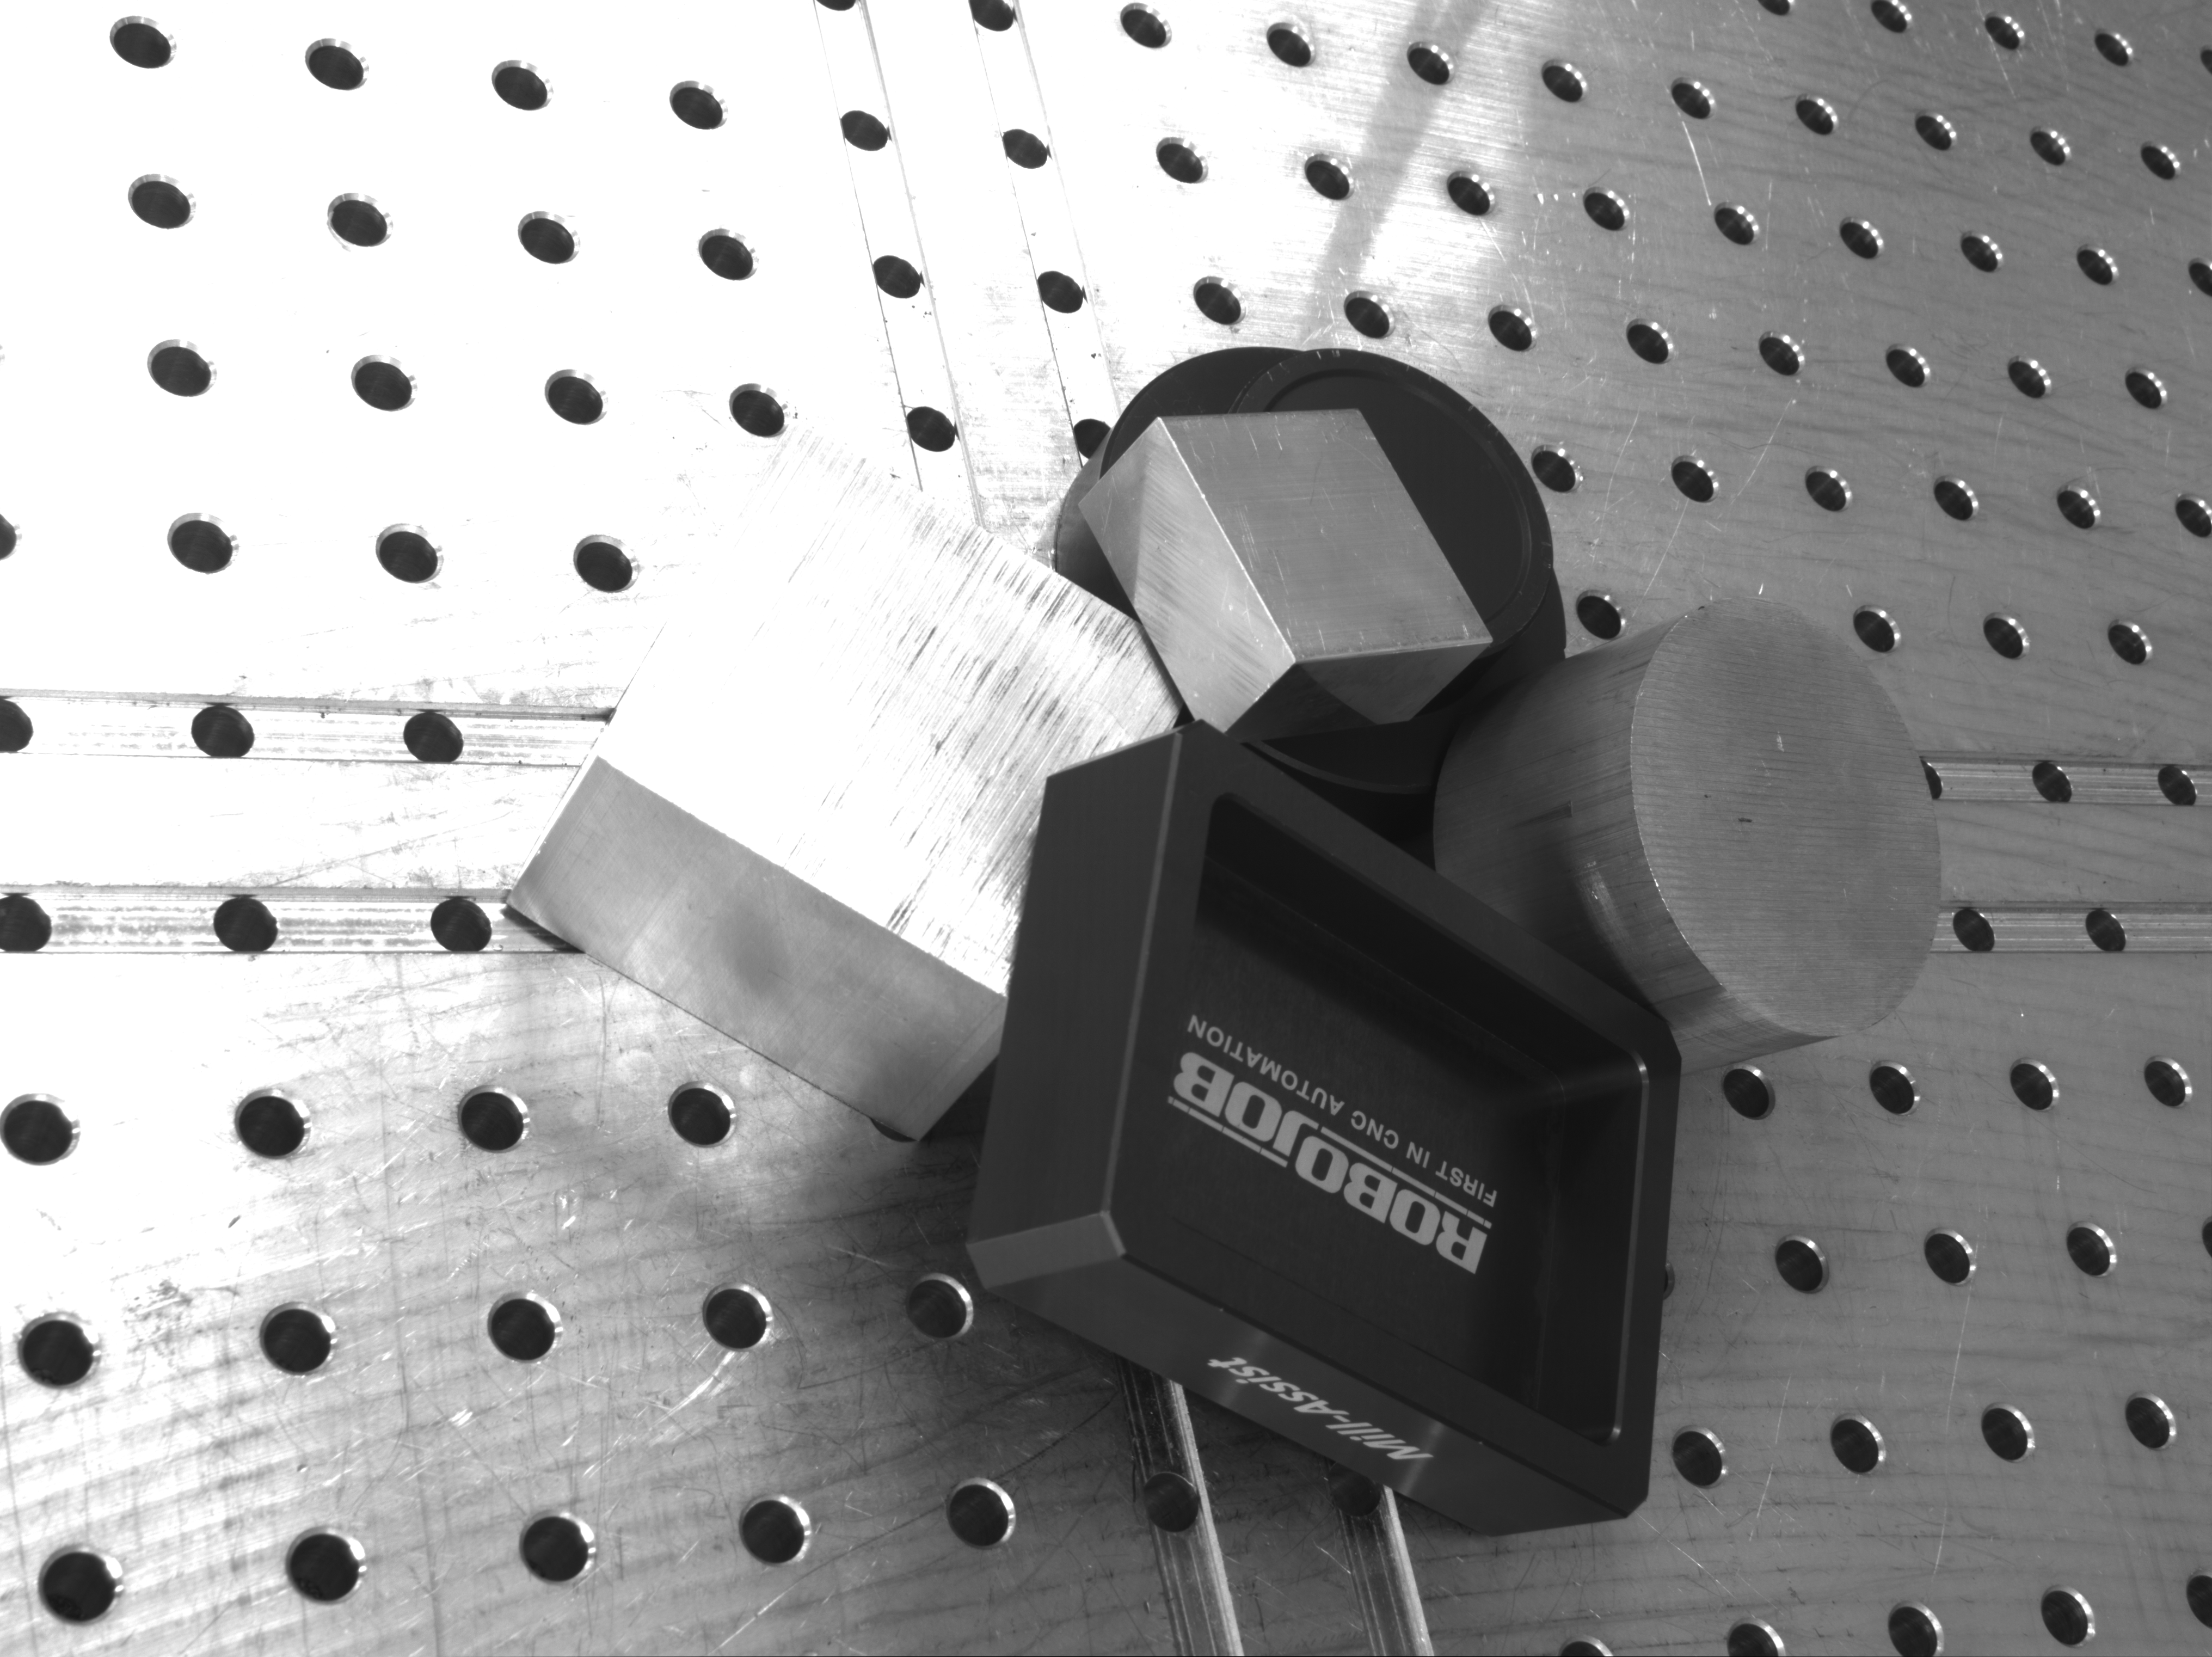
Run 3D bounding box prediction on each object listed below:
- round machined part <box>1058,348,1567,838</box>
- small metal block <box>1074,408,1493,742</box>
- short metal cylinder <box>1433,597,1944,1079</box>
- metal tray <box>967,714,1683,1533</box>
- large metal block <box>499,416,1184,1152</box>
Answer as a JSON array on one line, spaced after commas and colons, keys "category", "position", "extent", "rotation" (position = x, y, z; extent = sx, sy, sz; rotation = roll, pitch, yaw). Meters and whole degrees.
[{"category": "round machined part", "position": [0.044, -0.050, 0.685], "extent": [0.098, 0.042, 0.098], "rotation": [13, 56, -21]}, {"category": "small metal block", "position": [0.030, -0.044, 0.626], "extent": [0.050, 0.025, 0.050], "rotation": [-8, 62, -44]}, {"category": "short metal cylinder", "position": [0.106, 0.004, 0.666], "extent": [0.080, 0.050, 0.080], "rotation": [13, 68, -35]}, {"category": "metal tray", "position": [0.040, 0.050, 0.593], "extent": [0.130, 0.030, 0.090], "rotation": [32, 55, -36]}, {"category": "large metal block", "position": [-0.041, -0.007, 0.609], "extent": [0.080, 0.050, 0.080], "rotation": [31, 52, -8]}]
